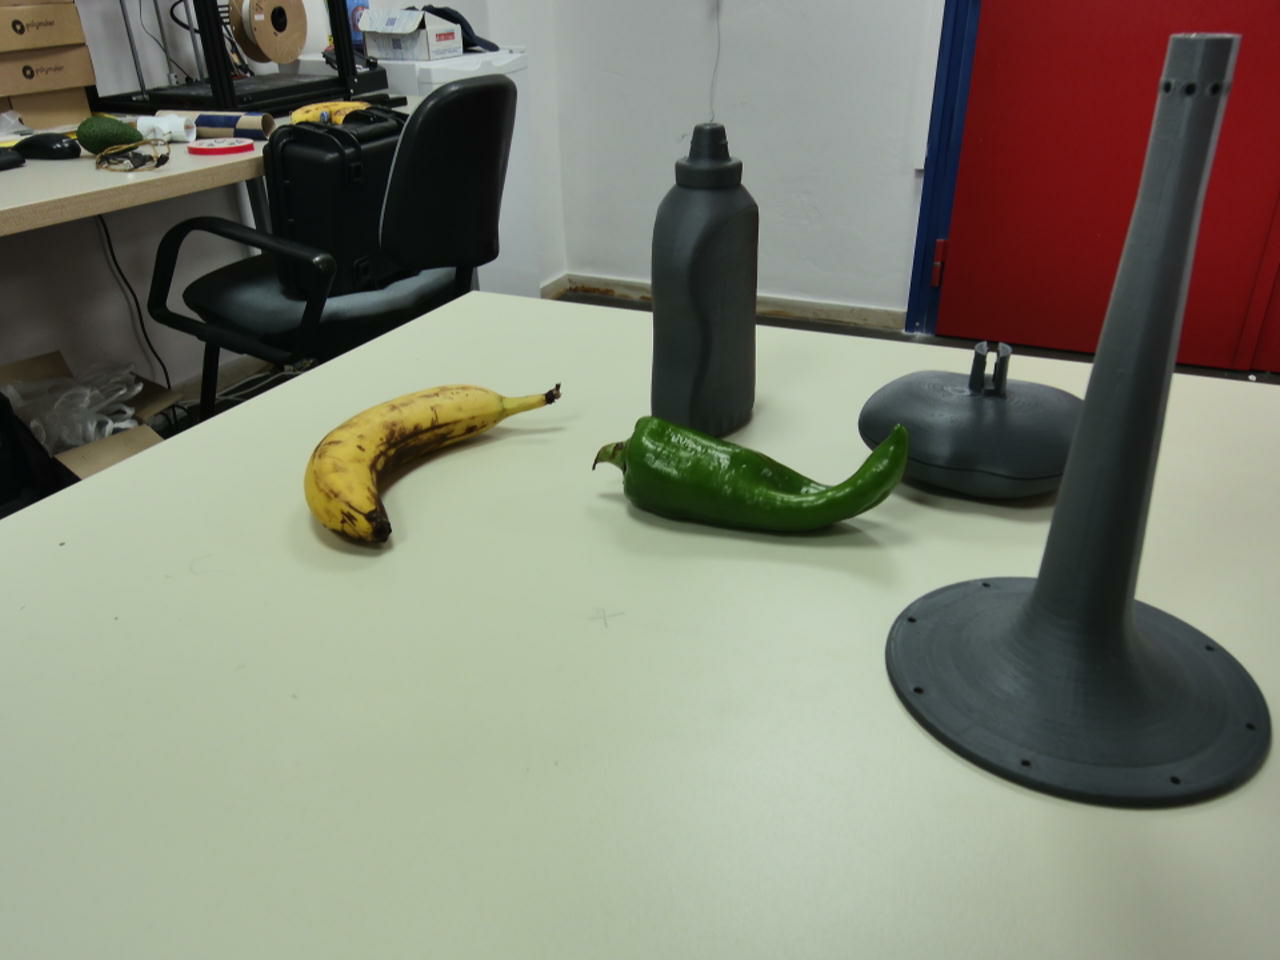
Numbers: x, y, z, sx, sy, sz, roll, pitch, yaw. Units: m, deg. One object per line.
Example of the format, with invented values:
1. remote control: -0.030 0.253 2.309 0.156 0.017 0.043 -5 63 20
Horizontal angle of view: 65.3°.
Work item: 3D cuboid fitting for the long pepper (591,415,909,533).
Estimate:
1. long pepper: 0.055 -0.008 0.545 0.175 0.065 0.058 10 27 21
